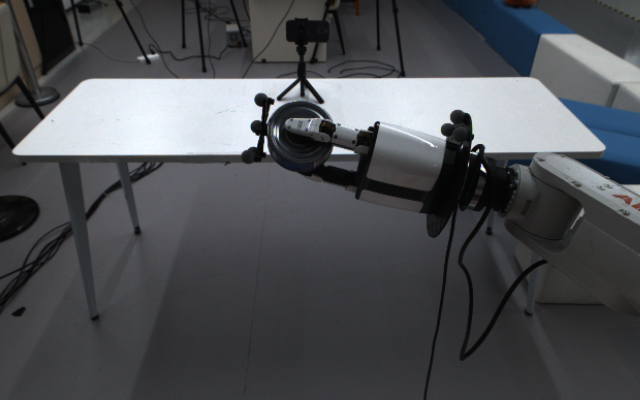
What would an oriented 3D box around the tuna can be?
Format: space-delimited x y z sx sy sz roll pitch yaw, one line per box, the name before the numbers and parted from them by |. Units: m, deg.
tuna can | -0.022 -0.082 0.610 0.085 0.034 0.085 2 73 -5
